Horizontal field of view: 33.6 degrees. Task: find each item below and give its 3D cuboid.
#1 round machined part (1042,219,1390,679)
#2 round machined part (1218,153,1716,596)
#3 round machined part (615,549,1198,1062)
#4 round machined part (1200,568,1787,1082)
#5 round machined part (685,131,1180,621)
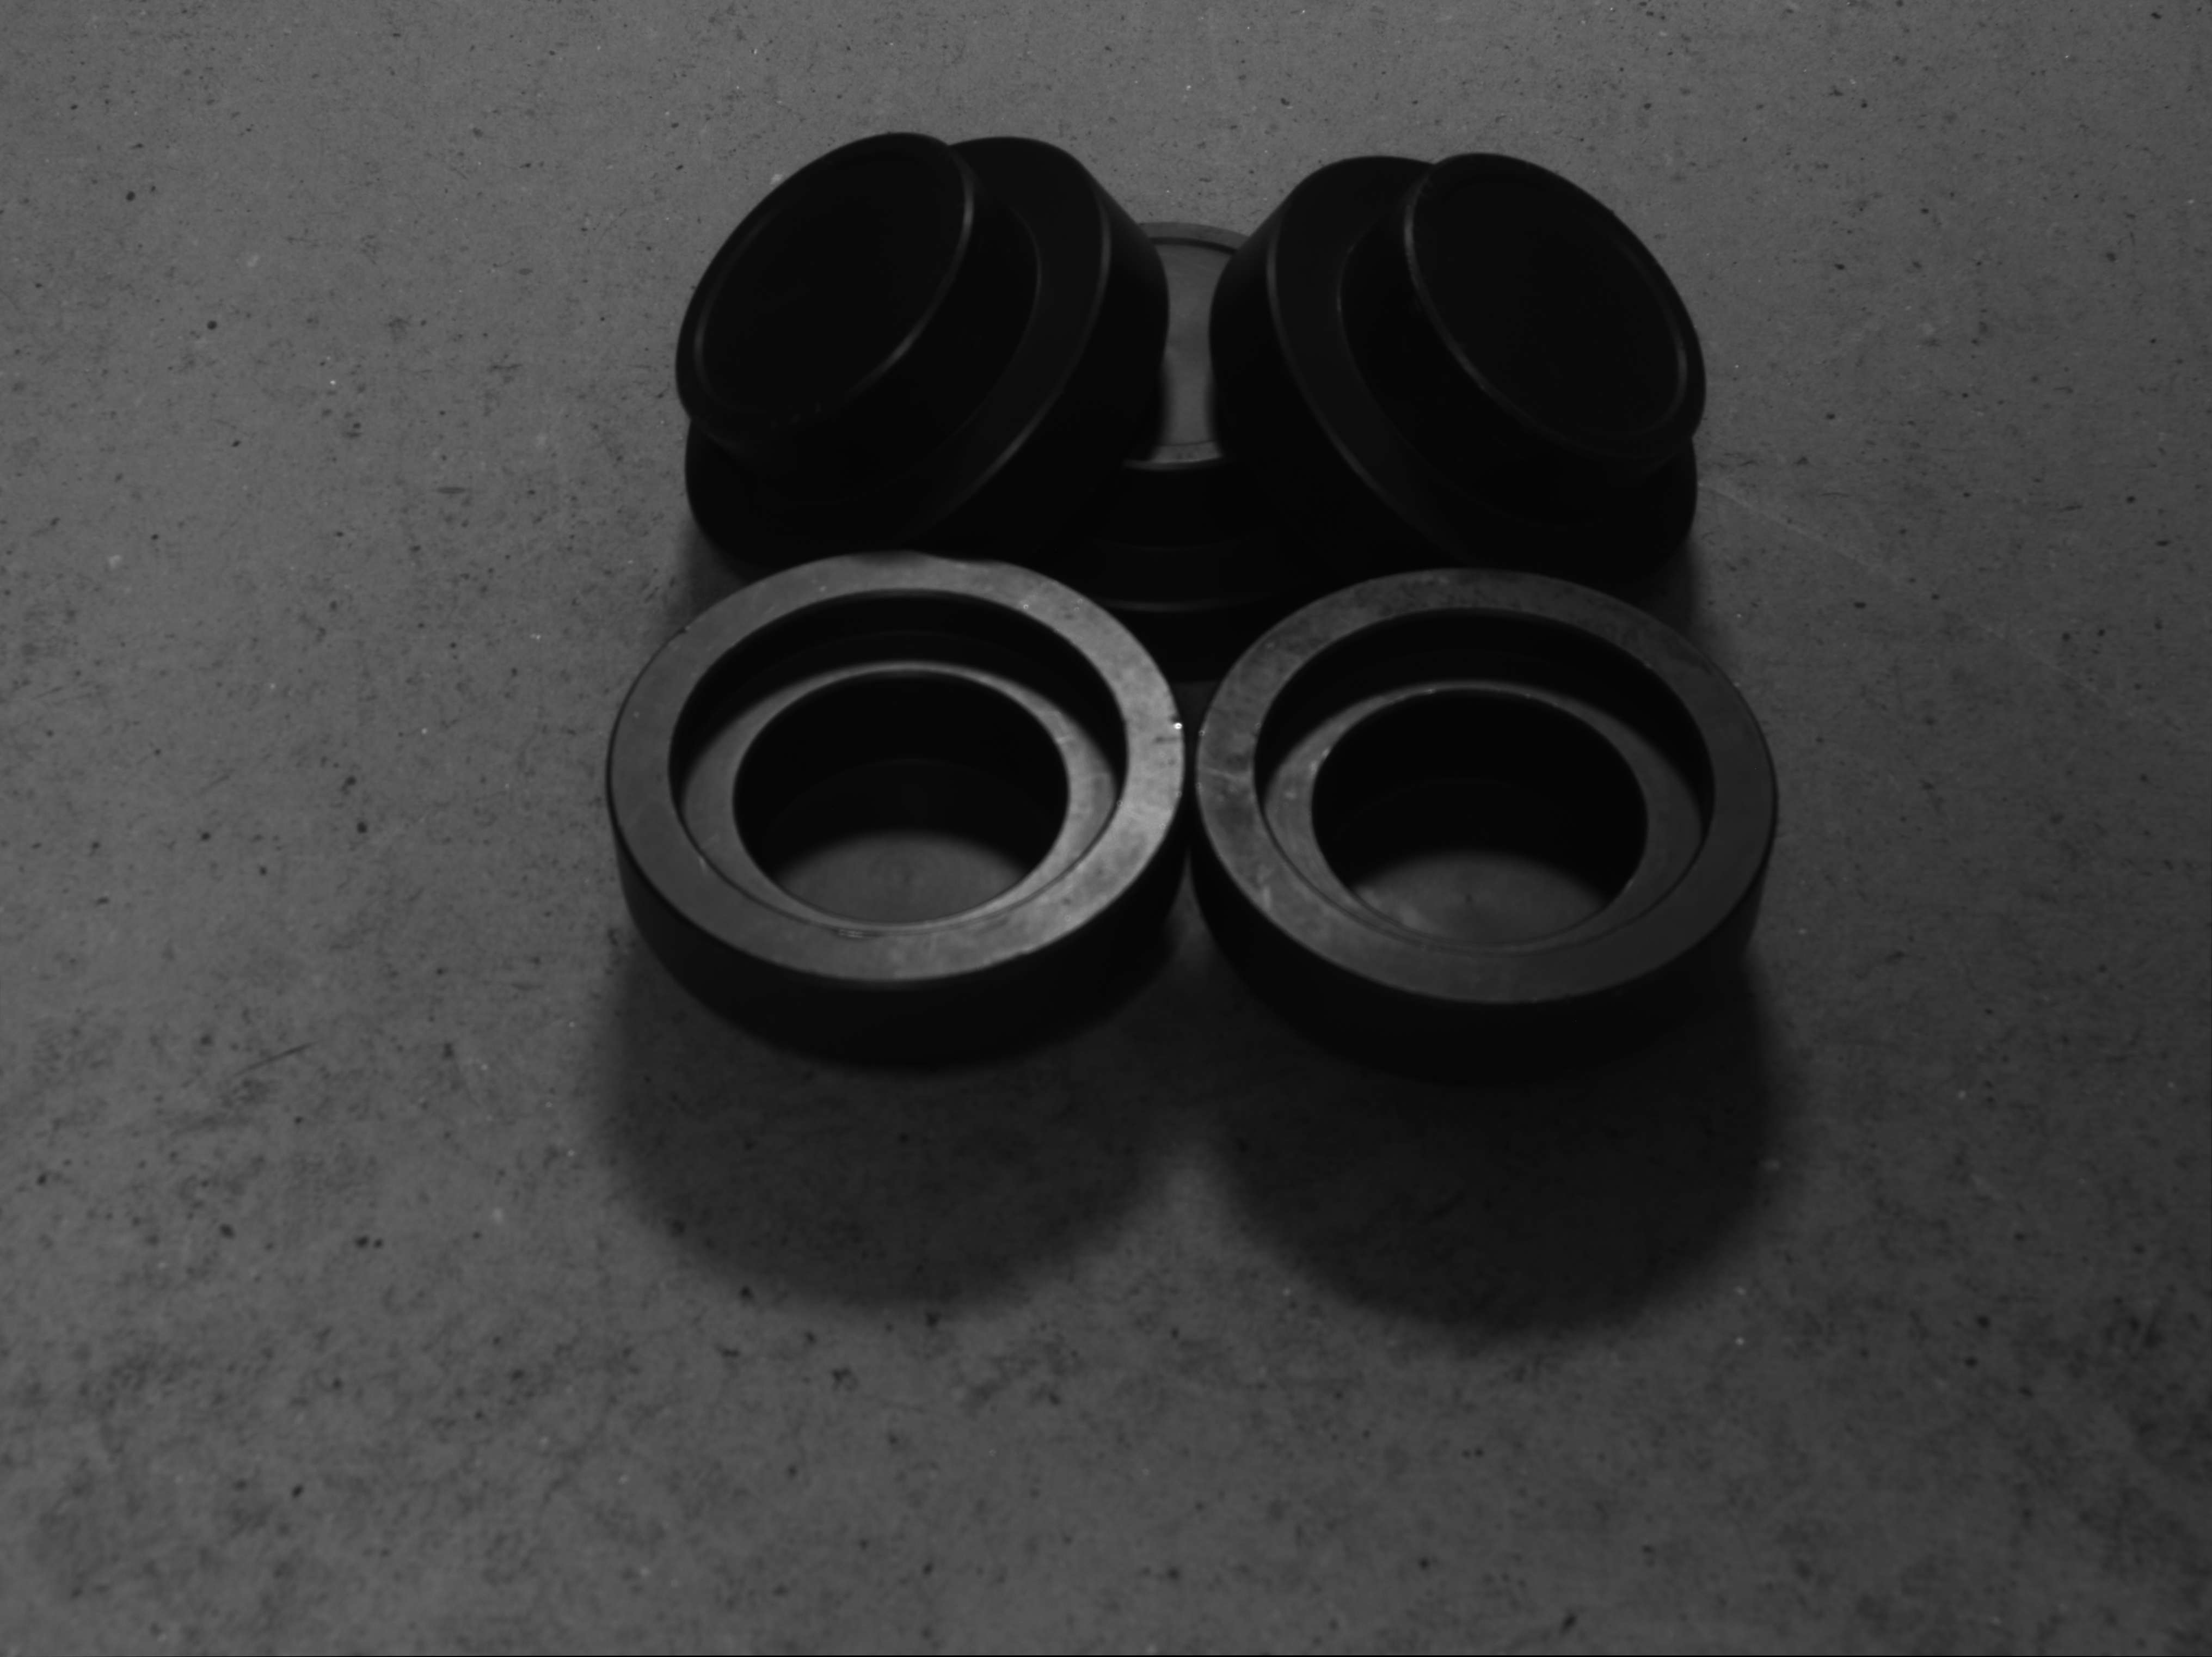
[{"bbox_3d":[0.013,-0.078,0.696,0.098,0.042,0.098,0,50,0],"label":"round machined part"},{"bbox_3d":[0.073,-0.084,0.674,0.098,0.042,0.098,19,52,-25],"label":"round machined part"},{"bbox_3d":[-0.033,0.001,0.630,0.098,0.042,0.098,0,50,0],"label":"round machined part"},{"bbox_3d":[0.065,0.004,0.627,0.098,0.042,0.098,0,50,0],"label":"round machined part"},{"bbox_3d":[-0.038,-0.089,0.675,0.098,0.042,0.098,-21,48,26],"label":"round machined part"}]
